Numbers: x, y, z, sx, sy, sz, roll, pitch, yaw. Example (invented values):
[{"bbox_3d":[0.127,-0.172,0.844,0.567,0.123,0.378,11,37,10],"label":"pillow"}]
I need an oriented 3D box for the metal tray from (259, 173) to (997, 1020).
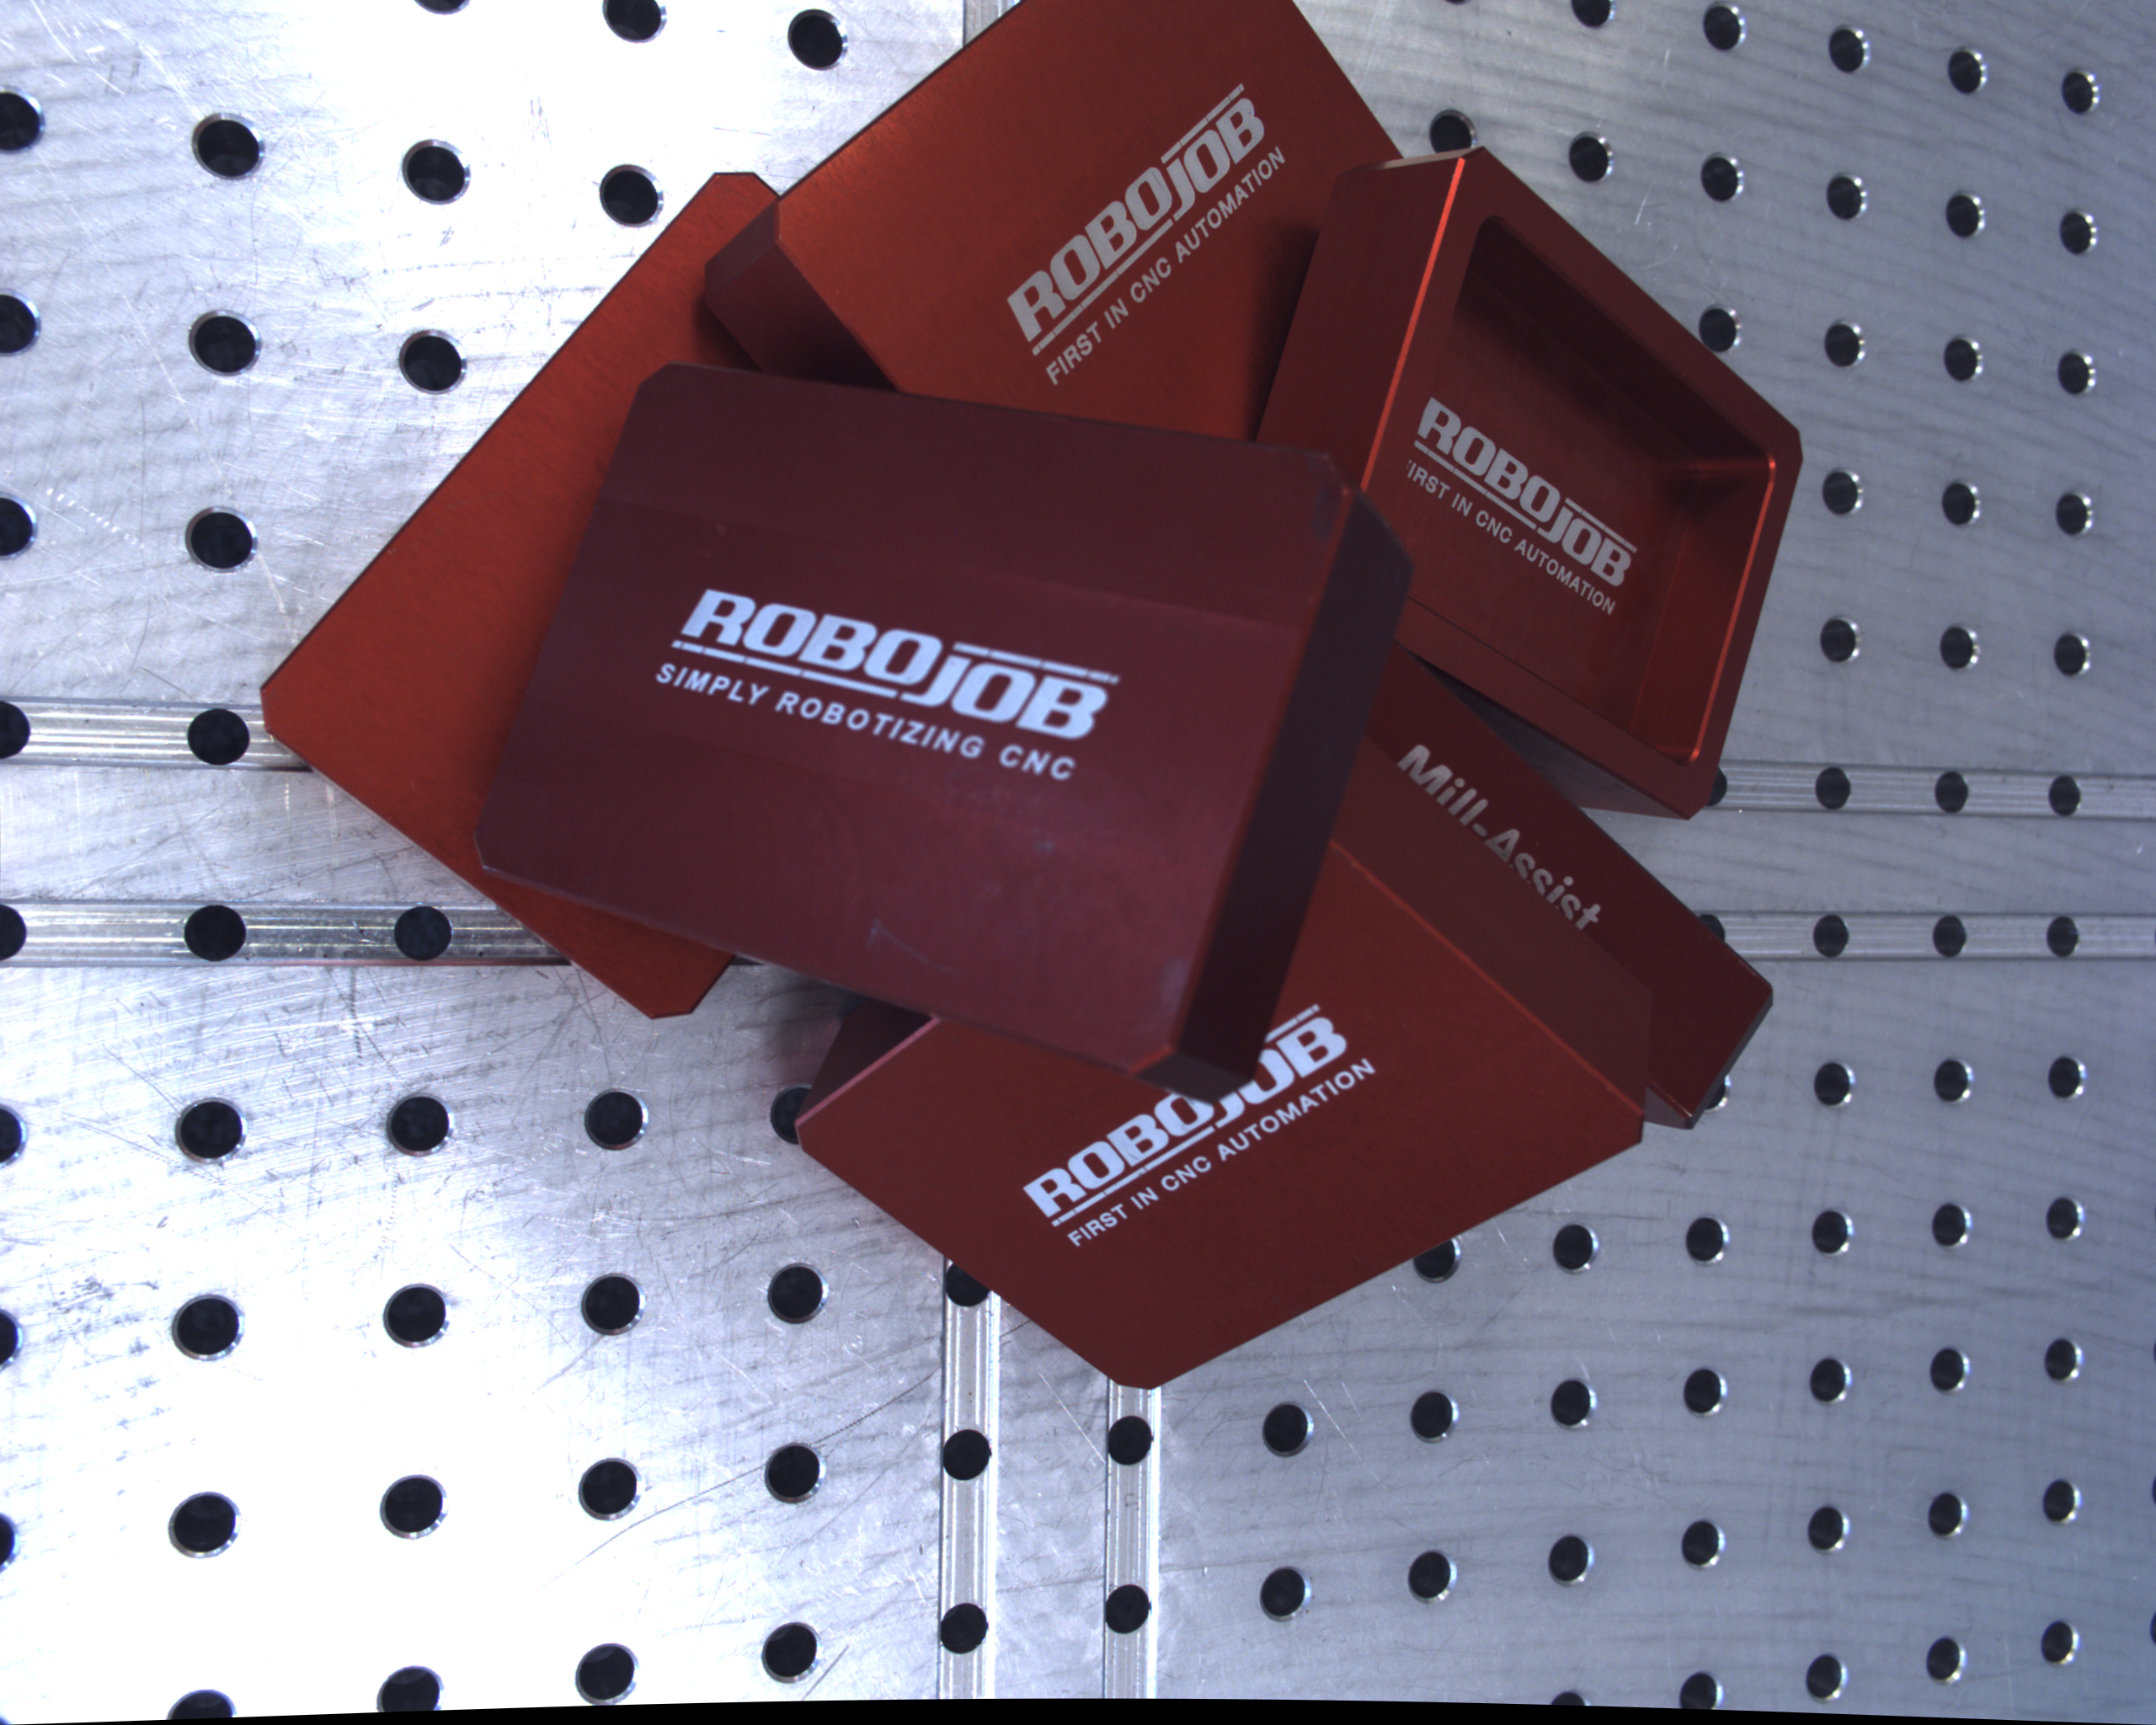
[{"bbox_3d":[-0.072,-0.048,0.383,0.090,0.030,0.130,41,77,-17],"label":"metal tray"}]

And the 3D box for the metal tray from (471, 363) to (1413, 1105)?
[{"bbox_3d":[-0.024,-0.024,0.323,0.030,0.130,0.090,30,76,-61],"label":"metal tray"}]

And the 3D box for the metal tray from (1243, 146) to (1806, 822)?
[{"bbox_3d":[0.091,-0.070,0.417,0.131,0.030,0.090,22,82,-41],"label":"metal tray"}]

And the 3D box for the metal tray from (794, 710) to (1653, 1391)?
[{"bbox_3d":[0.023,0.038,0.370,0.090,0.129,0.030,40,39,-16],"label":"metal tray"}]

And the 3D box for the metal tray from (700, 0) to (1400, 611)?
[{"bbox_3d":[0.005,-0.114,0.391,0.090,0.030,0.130,49,61,-17],"label":"metal tray"}]

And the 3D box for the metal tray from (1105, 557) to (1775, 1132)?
[{"bbox_3d":[0.057,-0.003,0.398,0.130,0.090,0.030,40,77,-16],"label":"metal tray"}]
